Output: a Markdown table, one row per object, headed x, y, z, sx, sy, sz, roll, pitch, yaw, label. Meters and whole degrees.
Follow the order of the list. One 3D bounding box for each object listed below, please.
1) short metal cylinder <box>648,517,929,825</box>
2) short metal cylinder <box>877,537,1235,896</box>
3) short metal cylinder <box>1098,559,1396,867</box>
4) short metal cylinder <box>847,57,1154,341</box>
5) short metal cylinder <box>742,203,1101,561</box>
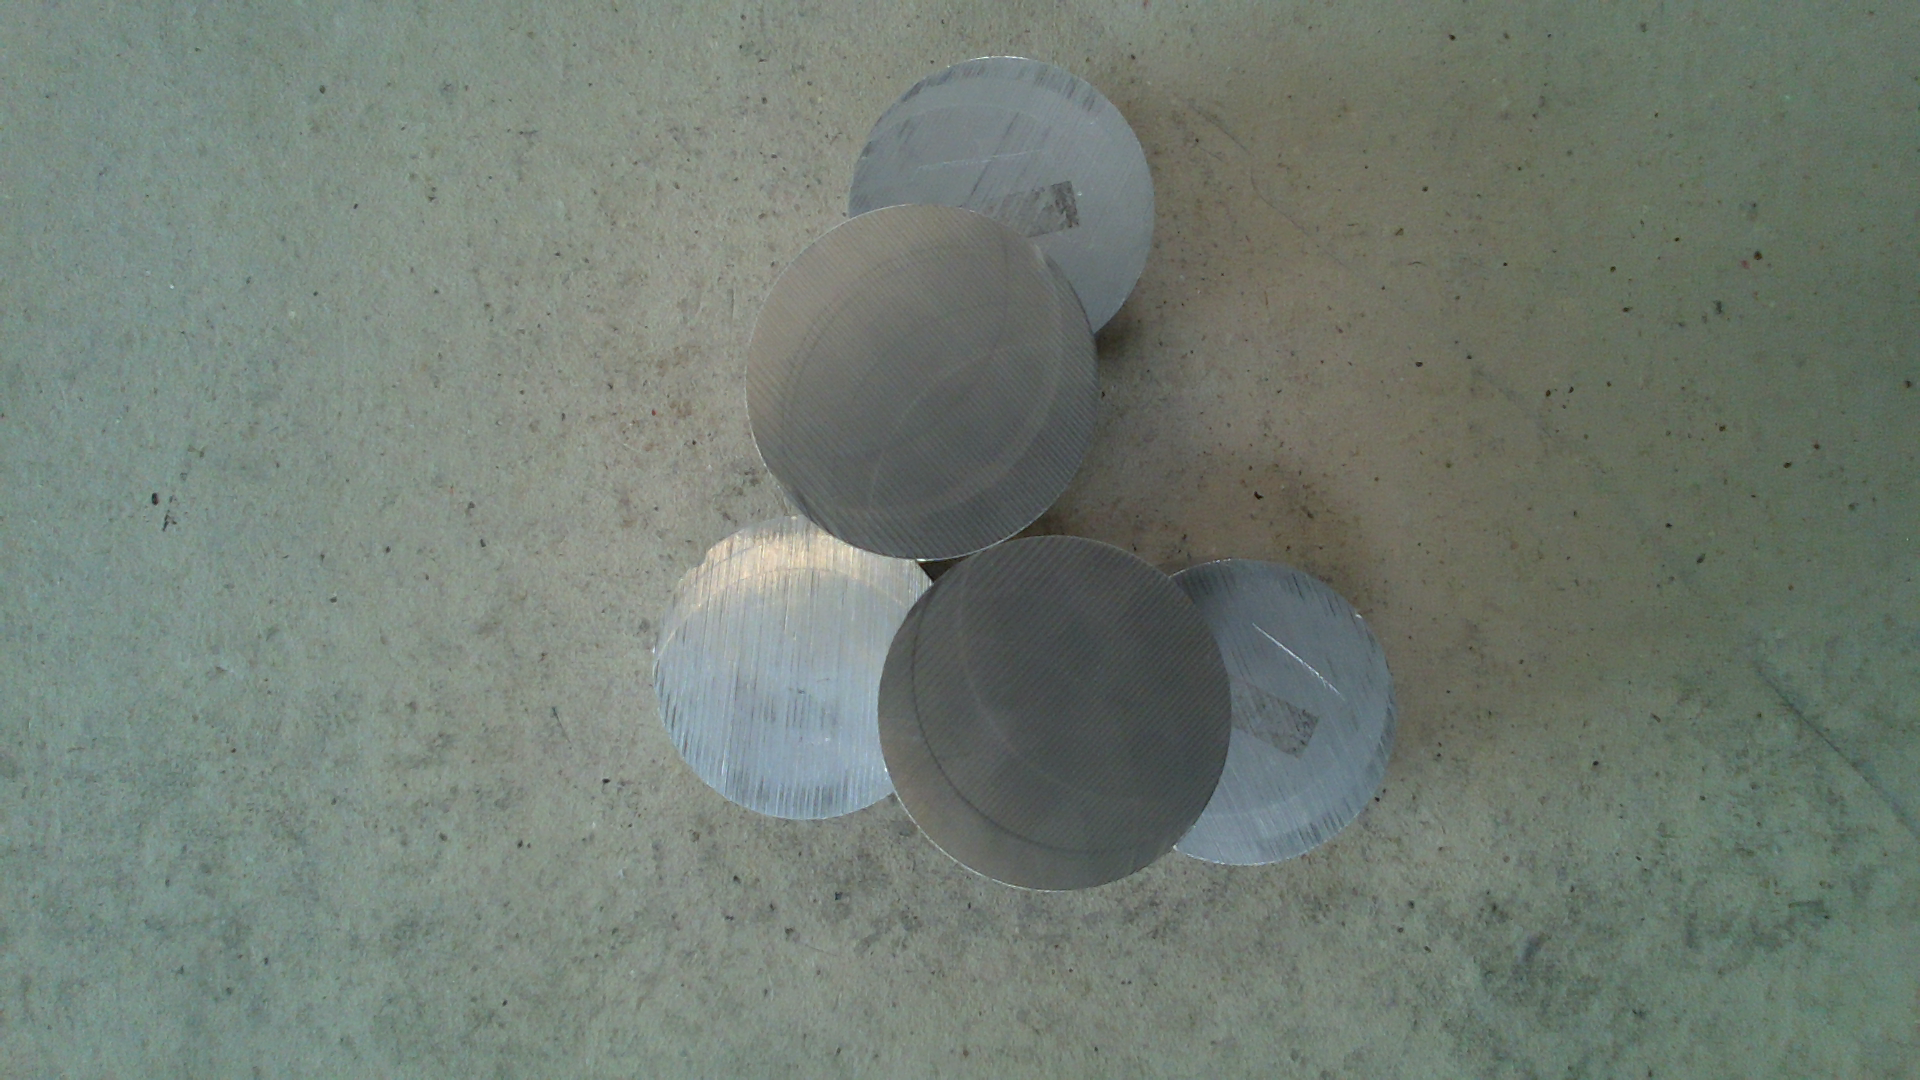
| x | y | z | sx | sy | sz | roll | pitch | yaw | label |
| --- | --- | --- | --- | --- | --- | --- | --- | --- | --- |
| -0.041 | 0.034 | 0.383 | 0.080 | 0.050 | 0.080 | 0 | 90 | 0 | short metal cylinder |
| 0.021 | 0.039 | 0.332 | 0.080 | 0.050 | 0.080 | 0 | 90 | -1 | short metal cylinder |
| 0.074 | 0.045 | 0.383 | 0.080 | 0.050 | 0.080 | 0 | 90 | 0 | short metal cylinder |
| 0.011 | -0.086 | 0.383 | 0.080 | 0.050 | 0.080 | 0 | 90 | 0 | short metal cylinder |
| -0.008 | -0.035 | 0.332 | 0.080 | 0.050 | 0.080 | 0 | 90 | 0 | short metal cylinder |
